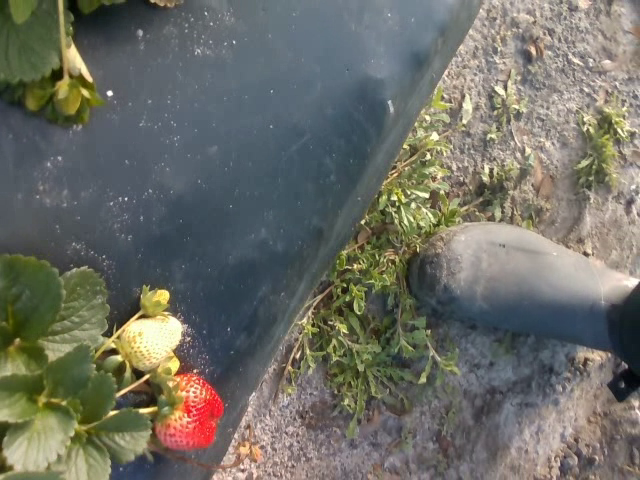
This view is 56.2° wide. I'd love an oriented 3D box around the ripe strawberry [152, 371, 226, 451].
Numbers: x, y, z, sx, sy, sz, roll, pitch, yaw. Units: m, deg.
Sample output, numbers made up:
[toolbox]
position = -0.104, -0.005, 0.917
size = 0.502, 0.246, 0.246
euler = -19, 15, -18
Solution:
[ripe strawberry]
position = -0.081, 0.119, 0.398
size = 0.034, 0.048, 0.050
euler = 25, -9, 42
